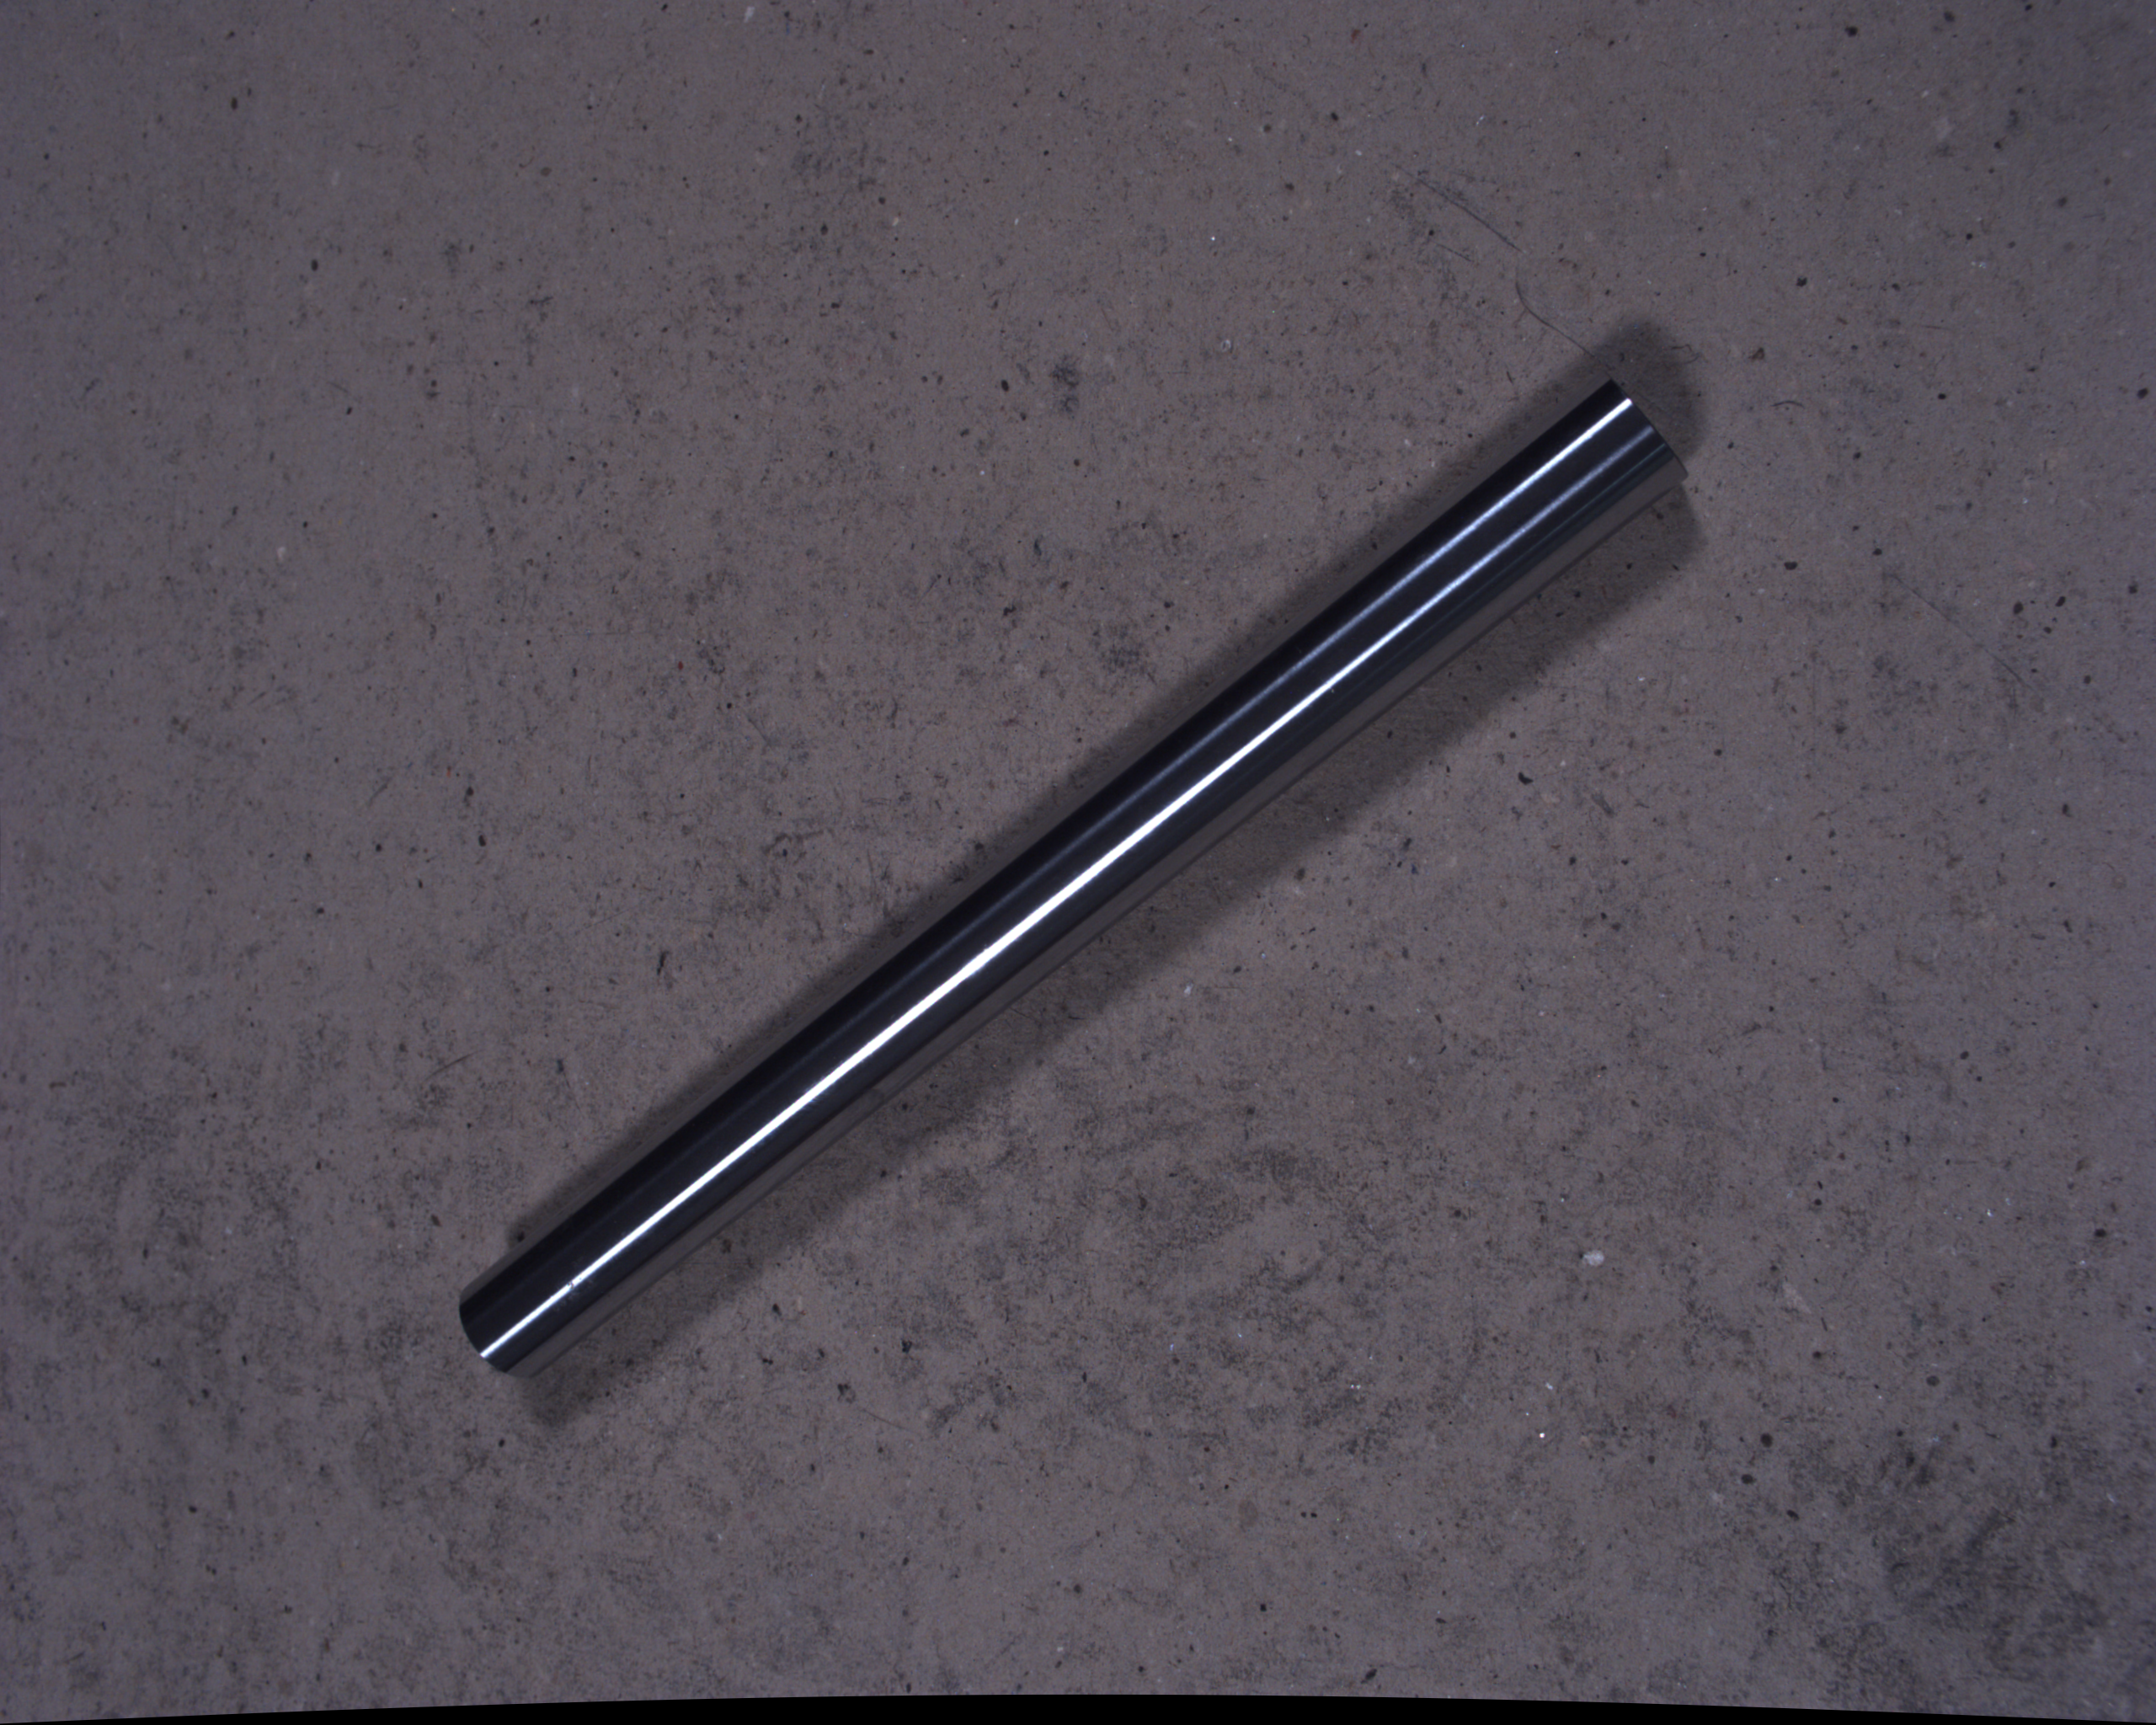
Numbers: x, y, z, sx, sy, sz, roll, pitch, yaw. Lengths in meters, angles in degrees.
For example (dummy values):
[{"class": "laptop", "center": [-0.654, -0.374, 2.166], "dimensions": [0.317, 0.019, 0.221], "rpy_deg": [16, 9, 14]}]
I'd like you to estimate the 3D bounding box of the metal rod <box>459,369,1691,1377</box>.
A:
[{"class": "metal rod", "center": [-0.011, 0.011, 0.414], "dimensions": [0.300, 0.025, 0.025], "rpy_deg": [-38, 78, 15]}]
